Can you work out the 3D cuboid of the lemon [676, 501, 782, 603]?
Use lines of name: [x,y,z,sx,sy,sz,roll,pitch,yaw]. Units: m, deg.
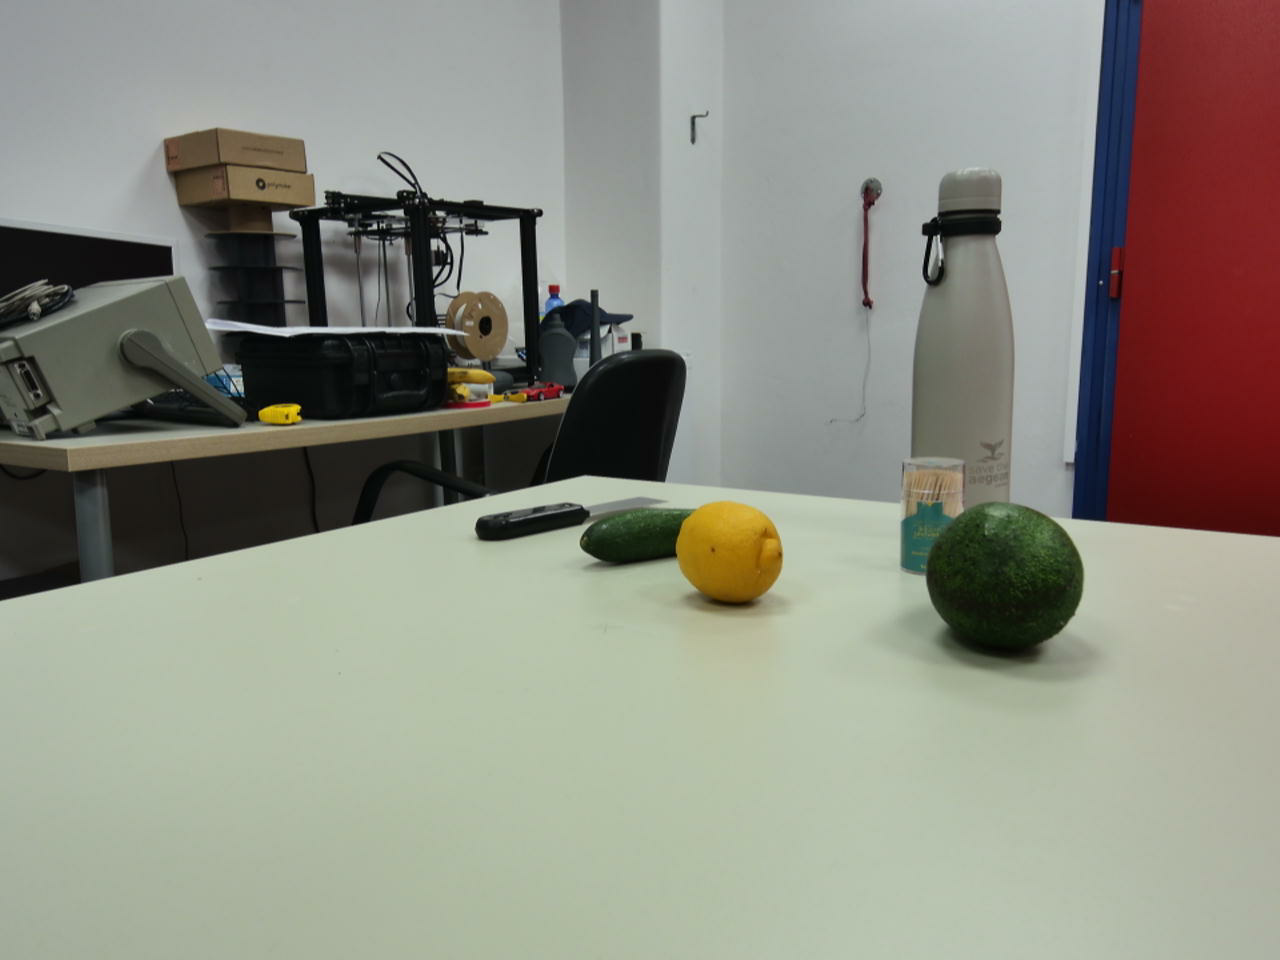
lemon: [0.053,0.043,0.604,0.061,0.059,0.067,-1,7,-13]
